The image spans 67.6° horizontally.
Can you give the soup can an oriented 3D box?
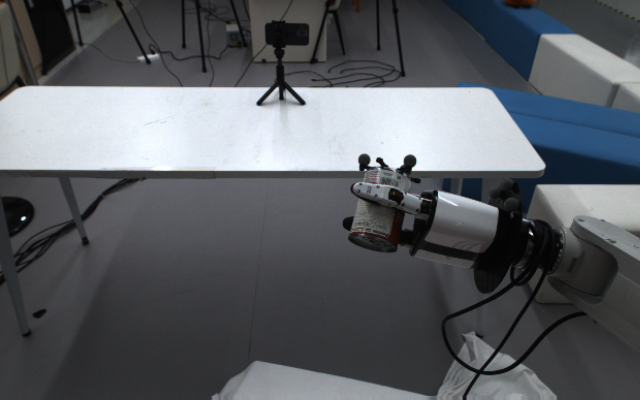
[{"bbox_3d":[0.085,0.013,0.663,0.067,0.067,0.101,11,72,13],"label":"soup can"}]
